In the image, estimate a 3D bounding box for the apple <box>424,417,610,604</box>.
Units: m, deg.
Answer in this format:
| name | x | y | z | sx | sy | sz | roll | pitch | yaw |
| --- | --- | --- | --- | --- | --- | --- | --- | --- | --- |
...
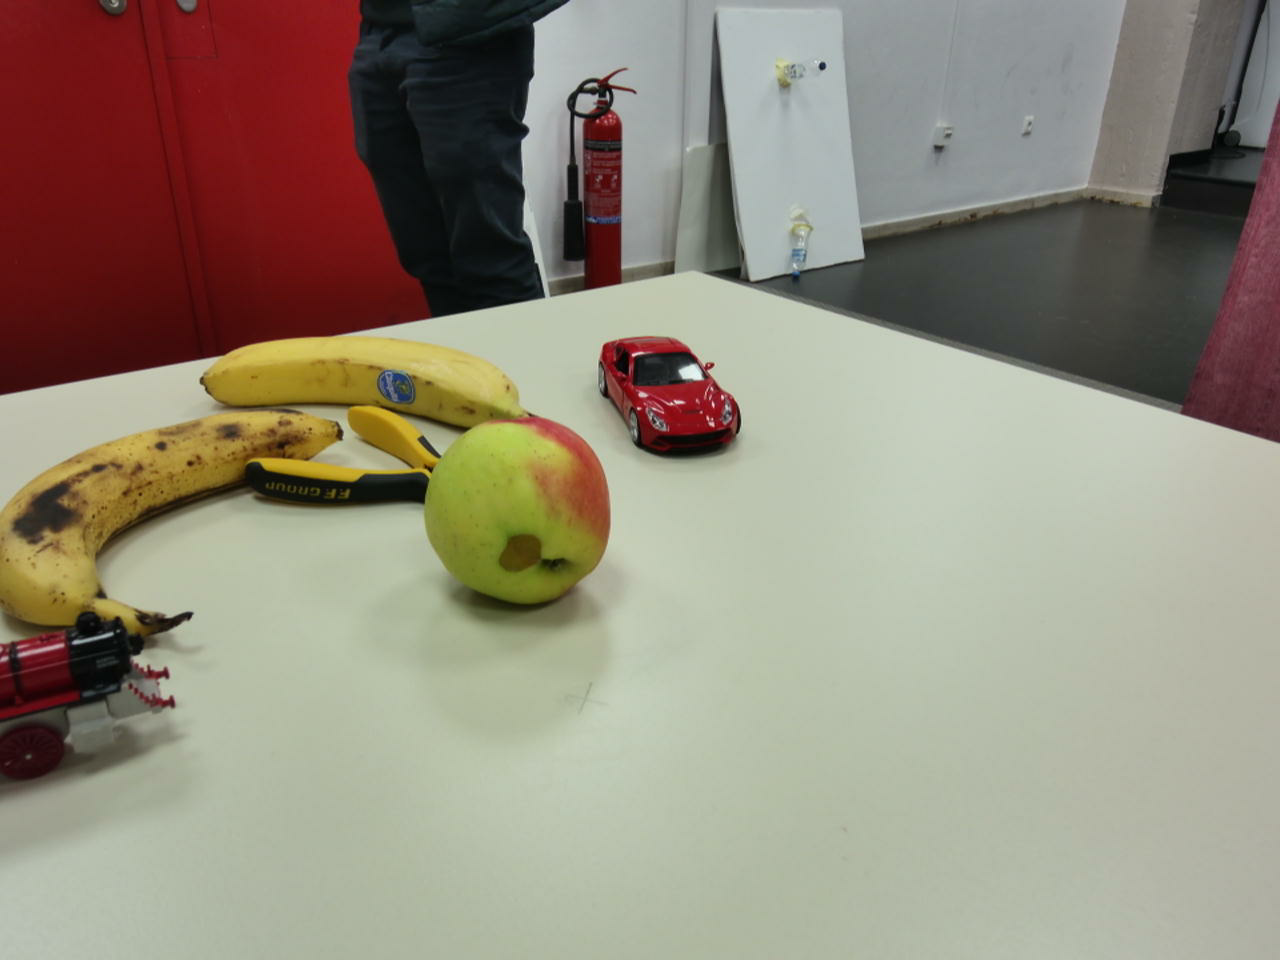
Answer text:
| name | x | y | z | sx | sy | sz | roll | pitch | yaw |
| --- | --- | --- | --- | --- | --- | --- | --- | --- | --- |
| apple | -0.049 | 0.011 | 0.407 | 0.075 | 0.074 | 0.075 | 14 | 27 | 28 |
